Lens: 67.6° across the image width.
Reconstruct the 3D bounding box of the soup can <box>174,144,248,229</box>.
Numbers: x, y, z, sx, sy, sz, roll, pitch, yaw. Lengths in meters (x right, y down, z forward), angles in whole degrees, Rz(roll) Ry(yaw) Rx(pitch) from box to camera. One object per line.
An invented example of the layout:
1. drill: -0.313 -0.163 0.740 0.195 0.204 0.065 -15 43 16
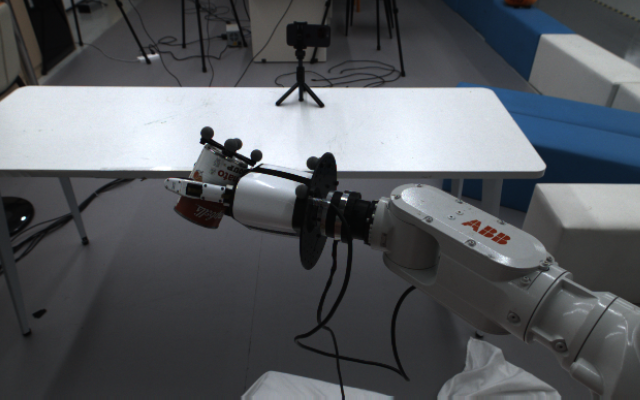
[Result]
1. soup can: -0.152 -0.018 0.678 0.067 0.101 0.067 27 6 -3
